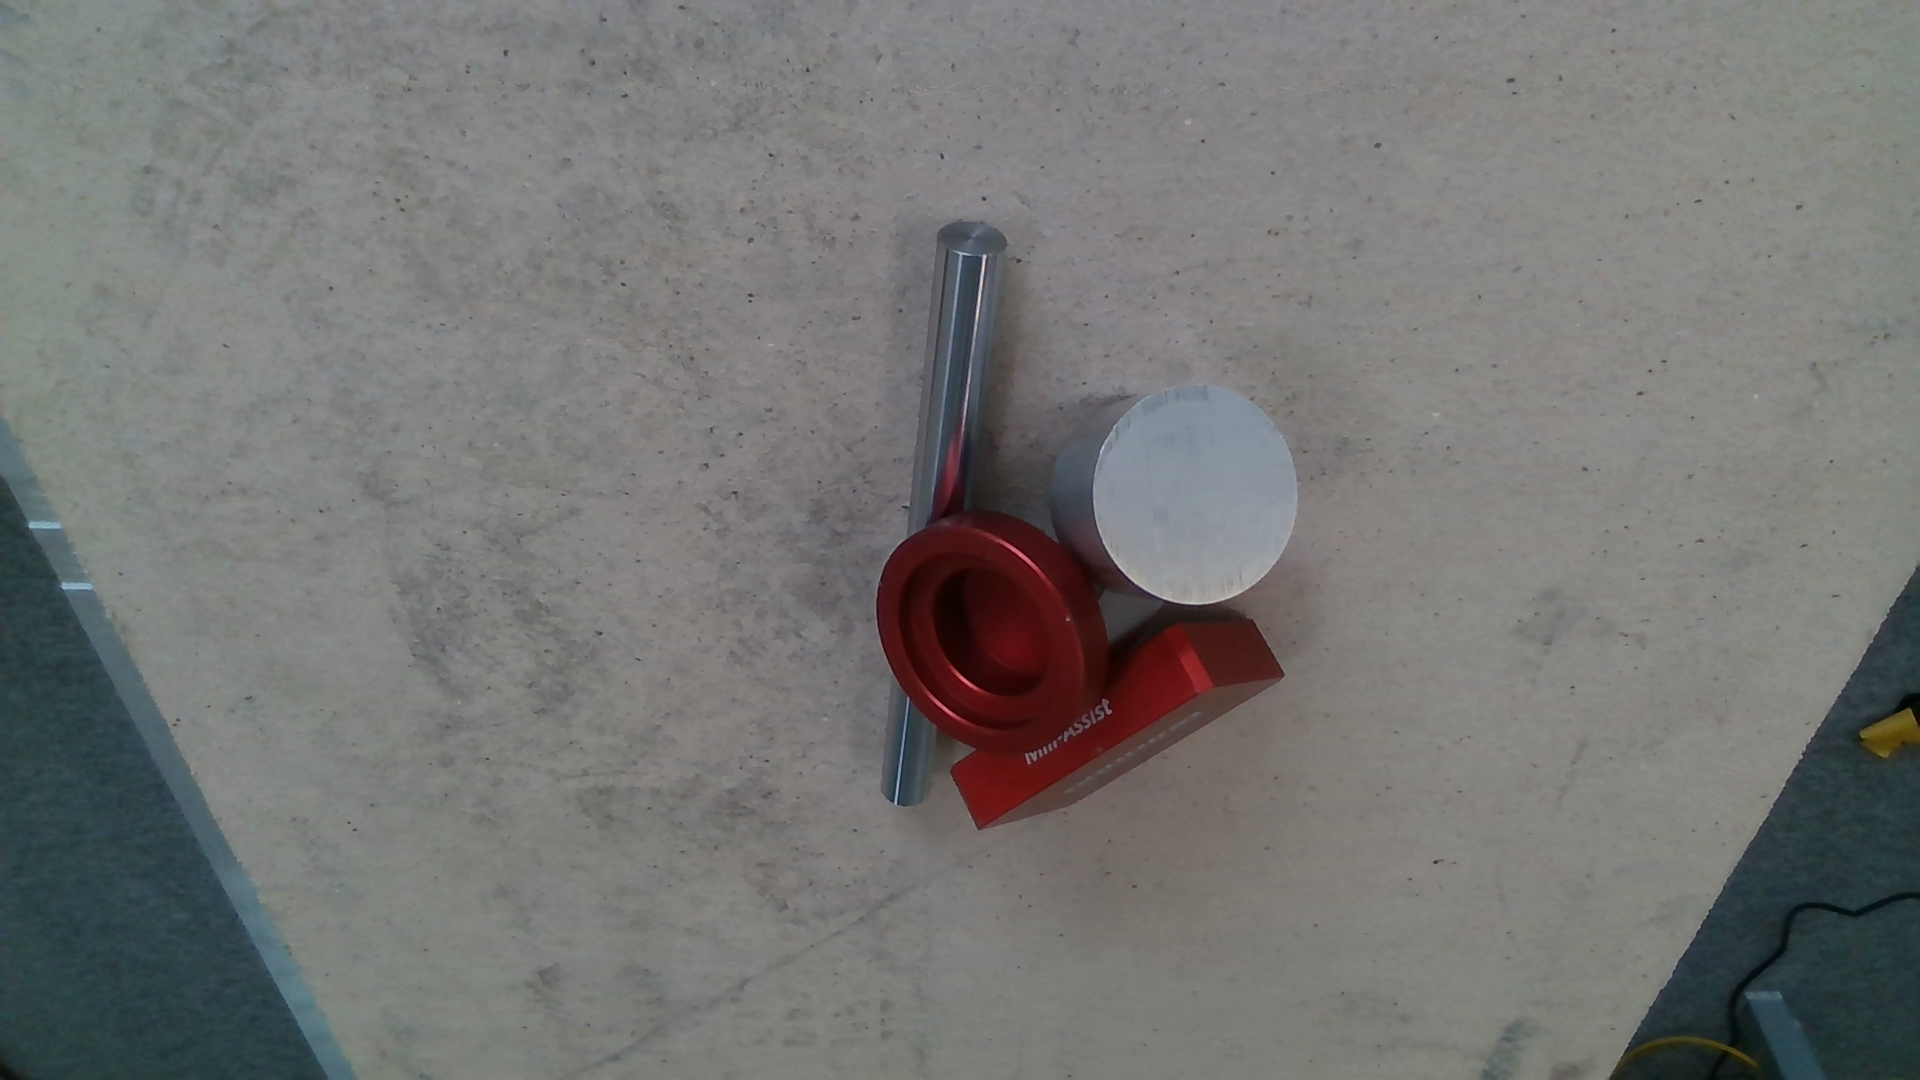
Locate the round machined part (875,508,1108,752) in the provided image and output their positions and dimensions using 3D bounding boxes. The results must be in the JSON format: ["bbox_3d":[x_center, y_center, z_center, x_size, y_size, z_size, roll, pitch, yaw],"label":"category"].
[{"bbox_3d":[0.017,0.033,0.556,0.098,0.042,0.098,16,120,30],"label":"round machined part"}]

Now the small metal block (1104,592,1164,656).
[{"bbox_3d":[0.060,0.022,0.580,0.025,0.050,0.050,19,128,-15],"label":"small metal block"}]

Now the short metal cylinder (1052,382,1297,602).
[{"bbox_3d":[0.080,-0.018,0.523,0.080,0.050,0.080,0,91,-14],"label":"short metal cylinder"}]

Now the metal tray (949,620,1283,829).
[{"bbox_3d":[0.069,0.081,0.612,0.130,0.030,0.090,-37,159,27],"label":"metal tray"}]

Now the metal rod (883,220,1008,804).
[{"bbox_3d":[-0.011,0.007,0.586,0.025,0.025,0.301,5,130,-4],"label":"metal rod"}]
